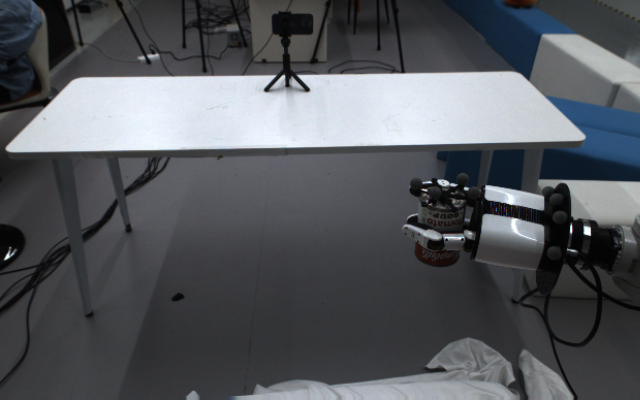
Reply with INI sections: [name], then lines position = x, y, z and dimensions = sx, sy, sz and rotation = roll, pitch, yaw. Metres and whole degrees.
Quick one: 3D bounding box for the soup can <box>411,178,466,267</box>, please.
[soup can]
position = 0.179, 0.038, 0.715
dimensions = 0.067, 0.101, 0.067
rotation = -2, 33, 1
